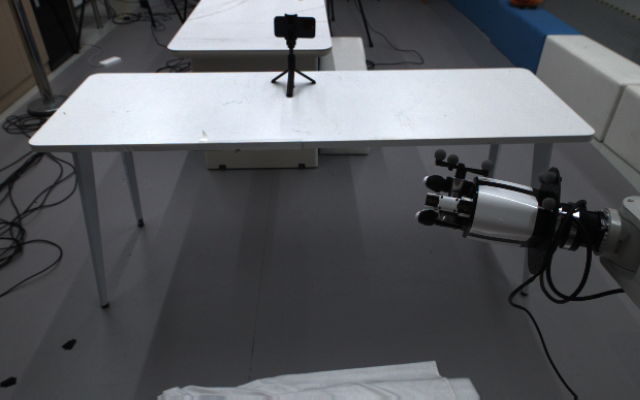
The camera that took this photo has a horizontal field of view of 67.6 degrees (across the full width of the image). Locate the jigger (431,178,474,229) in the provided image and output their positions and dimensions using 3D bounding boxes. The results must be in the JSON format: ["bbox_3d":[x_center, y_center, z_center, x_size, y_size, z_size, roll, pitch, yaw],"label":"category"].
[{"bbox_3d":[0.207,0.001,0.740,0.043,0.071,0.043,14,1,0],"label":"jigger"}]
